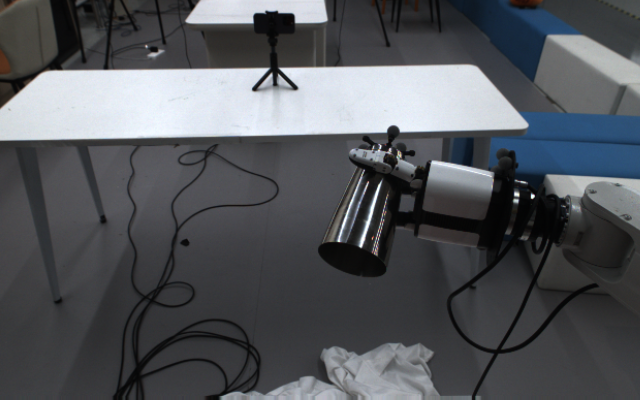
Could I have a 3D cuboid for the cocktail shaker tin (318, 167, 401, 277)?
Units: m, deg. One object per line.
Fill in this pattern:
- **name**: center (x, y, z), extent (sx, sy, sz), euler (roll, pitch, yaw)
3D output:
- **cocktail shaker tin**: center (0.067, 0.005, 0.661), extent (0.093, 0.093, 0.170), euler (13, 59, 16)
